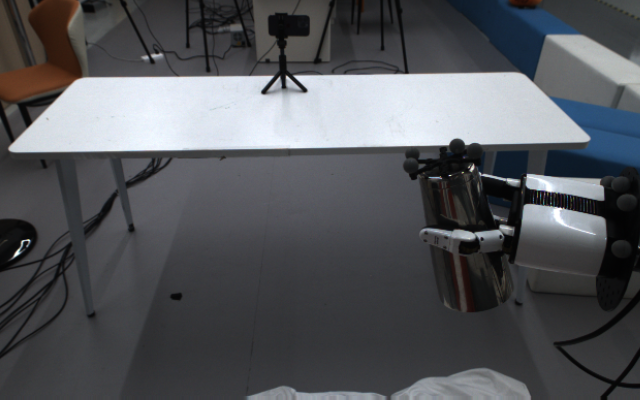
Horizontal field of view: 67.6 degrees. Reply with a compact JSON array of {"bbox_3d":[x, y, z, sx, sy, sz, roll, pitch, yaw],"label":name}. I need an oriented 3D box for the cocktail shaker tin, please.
[{"bbox_3d":[0.172,0.038,0.583,0.093,0.170,0.093,-17,20,7],"label":"cocktail shaker tin"}]
